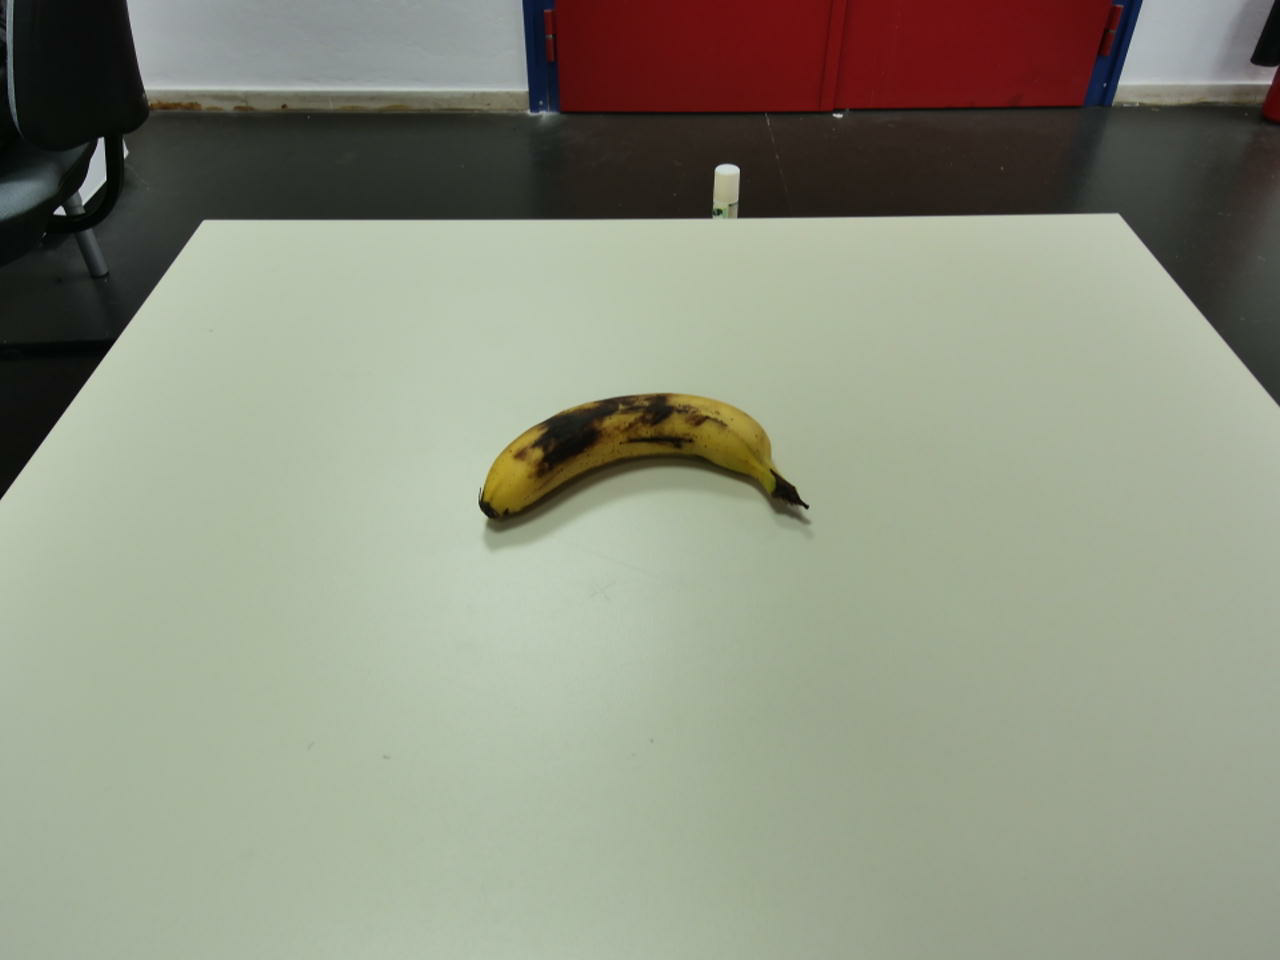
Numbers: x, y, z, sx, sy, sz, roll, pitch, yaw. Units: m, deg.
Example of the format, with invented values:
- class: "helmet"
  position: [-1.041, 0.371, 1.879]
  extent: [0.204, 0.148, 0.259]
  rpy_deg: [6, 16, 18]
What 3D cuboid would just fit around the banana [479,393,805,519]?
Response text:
- class: "banana"
  position: [0.000, -0.017, 0.603]
  extent: [0.187, 0.039, 0.094]
  rpy_deg: [-1, 39, -2]
